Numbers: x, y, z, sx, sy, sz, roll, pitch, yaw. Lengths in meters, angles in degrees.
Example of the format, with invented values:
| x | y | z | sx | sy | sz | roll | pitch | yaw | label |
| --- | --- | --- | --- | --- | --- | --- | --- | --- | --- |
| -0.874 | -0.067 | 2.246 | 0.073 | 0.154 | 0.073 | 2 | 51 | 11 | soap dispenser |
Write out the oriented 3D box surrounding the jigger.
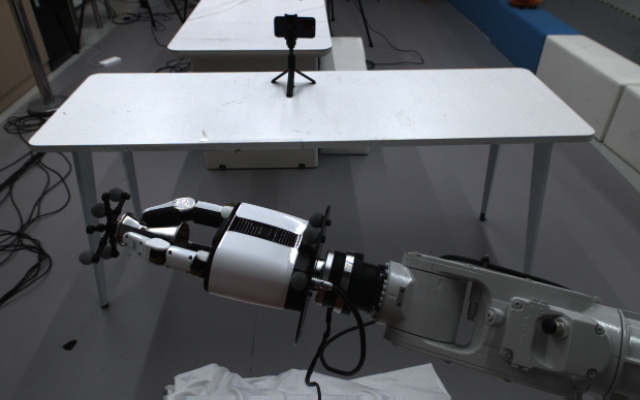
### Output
| x | y | z | sx | sy | sz | roll | pitch | yaw | label |
| --- | --- | --- | --- | --- | --- | --- | --- | --- | --- |
| -0.181 | 0.038 | 0.546 | 0.071 | 0.043 | 0.043 | 11 | 35 | 5 | jigger |
